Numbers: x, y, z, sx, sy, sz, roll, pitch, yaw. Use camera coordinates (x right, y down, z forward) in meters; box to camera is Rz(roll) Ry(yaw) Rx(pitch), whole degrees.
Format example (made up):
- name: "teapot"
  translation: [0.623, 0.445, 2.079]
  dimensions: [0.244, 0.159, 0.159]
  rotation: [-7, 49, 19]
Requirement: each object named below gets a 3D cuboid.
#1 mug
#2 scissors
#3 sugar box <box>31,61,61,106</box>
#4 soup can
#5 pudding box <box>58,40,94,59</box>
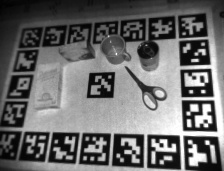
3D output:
- name: "mug"
  translation: [0.010, -0.142, 0.793]
  dimensions: [0.093, 0.082, 0.116]
  rotation: [-36, 67, 3]
- name: "scissors"
  translation: [0.100, -0.005, 0.765]
  dimensions: [0.087, 0.016, 0.201]
  rotation: [-44, 70, 8]
- name: "sugar box"
  translation: [-0.253, -0.009, 0.836]
  dimensions: [0.092, 0.046, 0.176]
  rotation: [-4, 74, 14]
- name: "soup can"
  translation: [0.119, -0.107, 0.755]
  dimensions: [0.067, 0.103, 0.067]
  rotation: [-4, 71, 13]
- name: "pudding box"
  translation: [-0.137, -0.141, 0.818]
  dimensions: [0.113, 0.090, 0.038]
  rotation: [-10, 77, 10]
